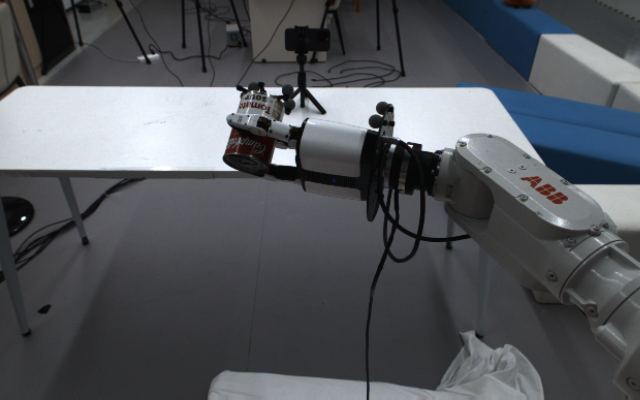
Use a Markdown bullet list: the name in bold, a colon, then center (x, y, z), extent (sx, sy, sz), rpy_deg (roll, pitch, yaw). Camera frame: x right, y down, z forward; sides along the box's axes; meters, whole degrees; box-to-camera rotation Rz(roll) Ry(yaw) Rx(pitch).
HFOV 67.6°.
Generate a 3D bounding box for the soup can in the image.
- **soup can**: center (-0.094, -0.096, 0.695), extent (0.067, 0.067, 0.101), rpy_deg (9, 72, 10)
